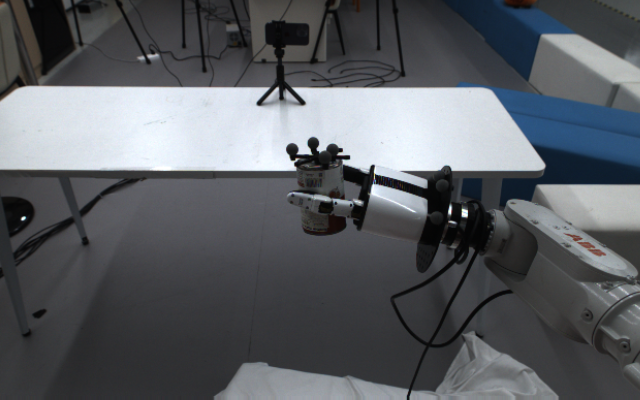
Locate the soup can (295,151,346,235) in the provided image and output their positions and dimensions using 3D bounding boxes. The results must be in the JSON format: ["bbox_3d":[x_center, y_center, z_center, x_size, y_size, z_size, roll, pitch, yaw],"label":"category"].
[{"bbox_3d":[0.004,-0.008,0.698,0.067,0.101,0.067,-4,21,1],"label":"soup can"}]
